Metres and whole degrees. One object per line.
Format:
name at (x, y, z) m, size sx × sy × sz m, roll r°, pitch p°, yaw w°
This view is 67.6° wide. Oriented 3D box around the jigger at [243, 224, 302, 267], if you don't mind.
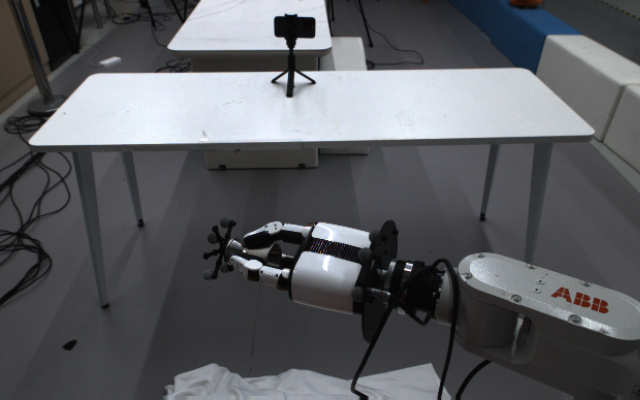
jigger at (-0.089, 0.075, 0.683) m, size 0.071 × 0.043 × 0.043 m, roll 7°, pitch 34°, yaw 23°
